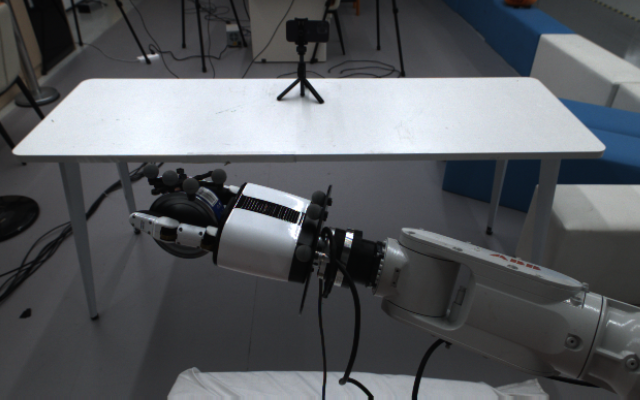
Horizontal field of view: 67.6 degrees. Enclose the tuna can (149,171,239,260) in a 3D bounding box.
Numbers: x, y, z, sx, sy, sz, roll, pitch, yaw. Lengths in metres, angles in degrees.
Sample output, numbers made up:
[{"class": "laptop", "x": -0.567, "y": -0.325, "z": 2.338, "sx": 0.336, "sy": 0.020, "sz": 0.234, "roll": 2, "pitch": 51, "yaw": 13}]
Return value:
[{"class": "tuna can", "x": -0.153, "y": 0.025, "z": 0.570, "sx": 0.085, "sy": 0.085, "sz": 0.034, "roll": 6, "pitch": 22, "yaw": 5}]
